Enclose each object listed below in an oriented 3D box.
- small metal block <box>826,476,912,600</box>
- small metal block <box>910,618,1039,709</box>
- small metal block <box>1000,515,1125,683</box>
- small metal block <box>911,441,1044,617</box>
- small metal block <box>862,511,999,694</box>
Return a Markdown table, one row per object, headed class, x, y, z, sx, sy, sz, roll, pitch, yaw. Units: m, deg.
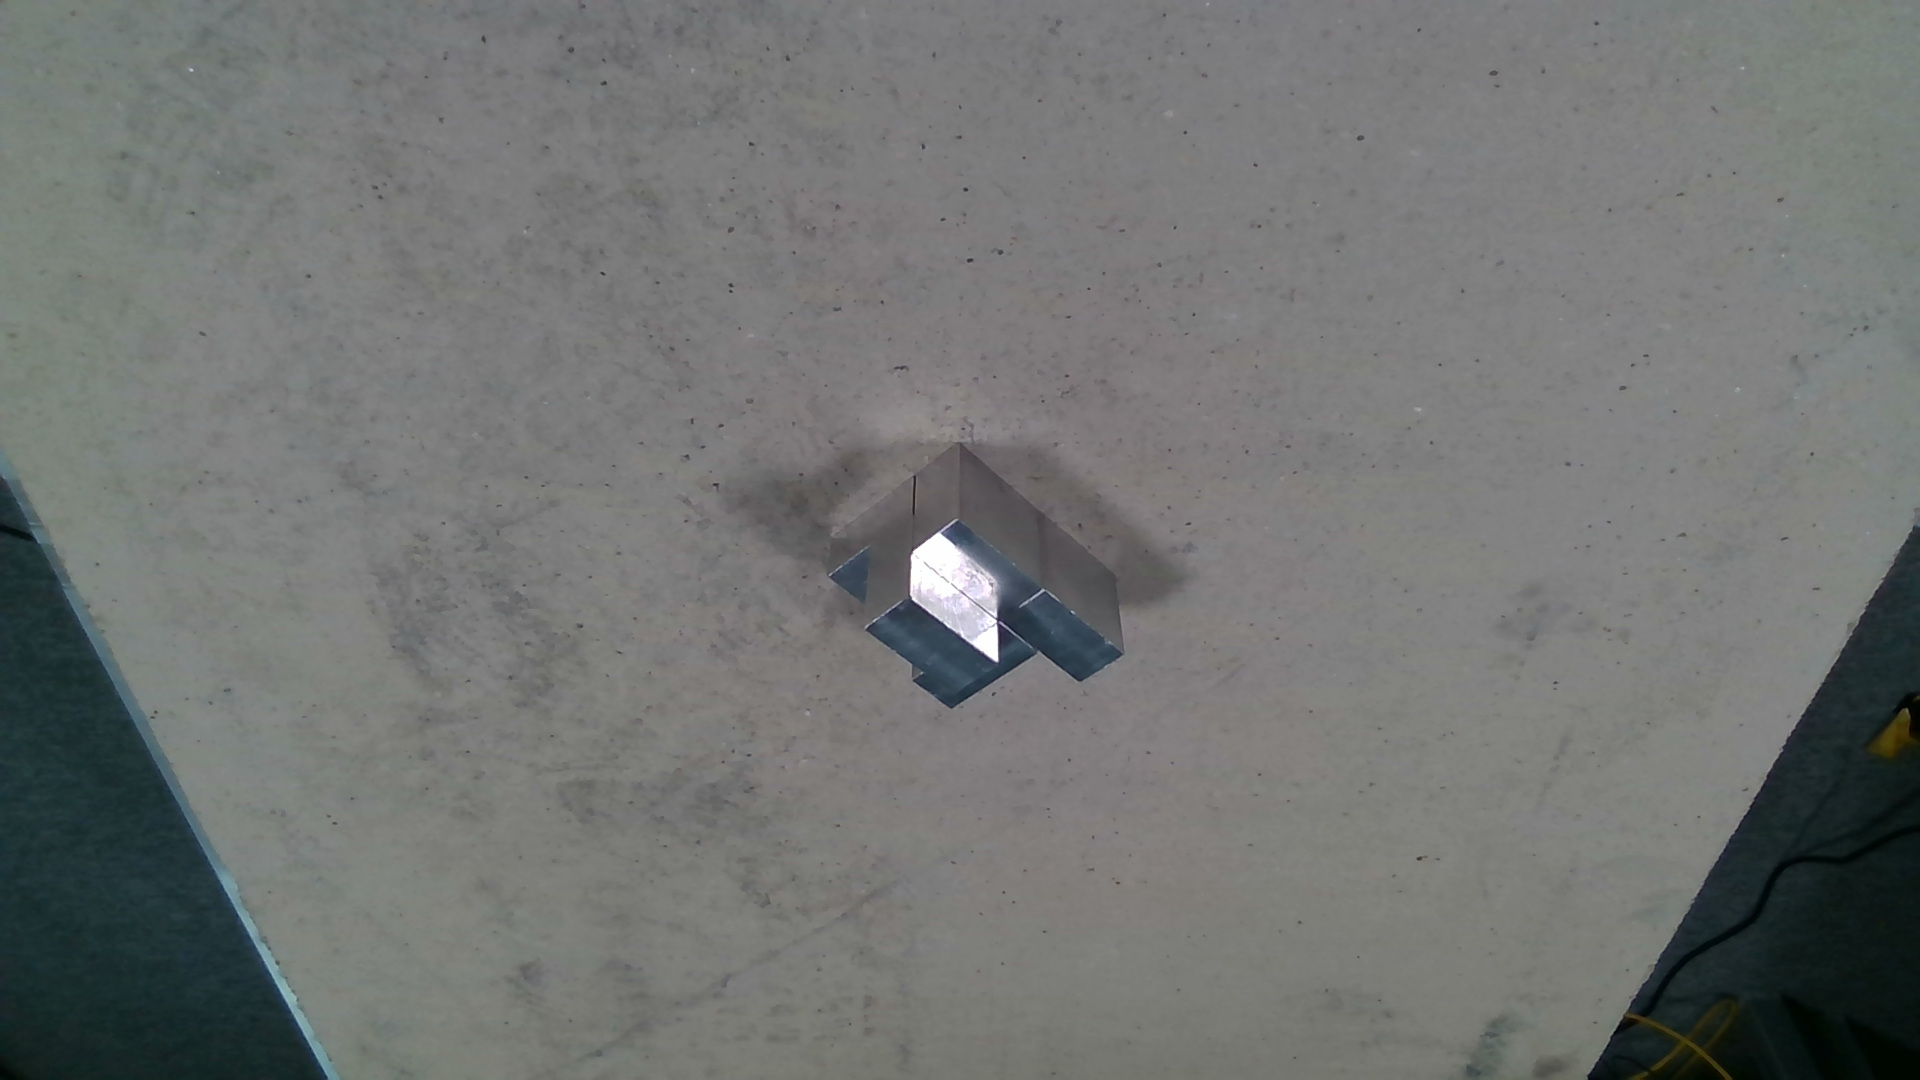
| class | x | y | z | sx | sy | sz | roll | pitch | yaw |
| --- | --- | --- | --- | --- | --- | --- | --- | --- | --- |
| small metal block | -0.021 | 0.008 | 0.586 | 0.050 | 0.025 | 0.050 | -35 | 122 | 26 |
| small metal block | 0.006 | 0.037 | 0.594 | 0.050 | 0.050 | 0.025 | -36 | 121 | 26 |
| small metal block | 0.042 | 0.024 | 0.583 | 0.025 | 0.050 | 0.050 | -36 | 121 | 26 |
| small metal block | 0.007 | -0.004 | 0.559 | 0.025 | 0.050 | 0.050 | -36 | 121 | 26 |
| small metal block | -0.011 | 0.025 | 0.551 | 0.025 | 0.050 | 0.050 | -36 | 121 | 26 |
